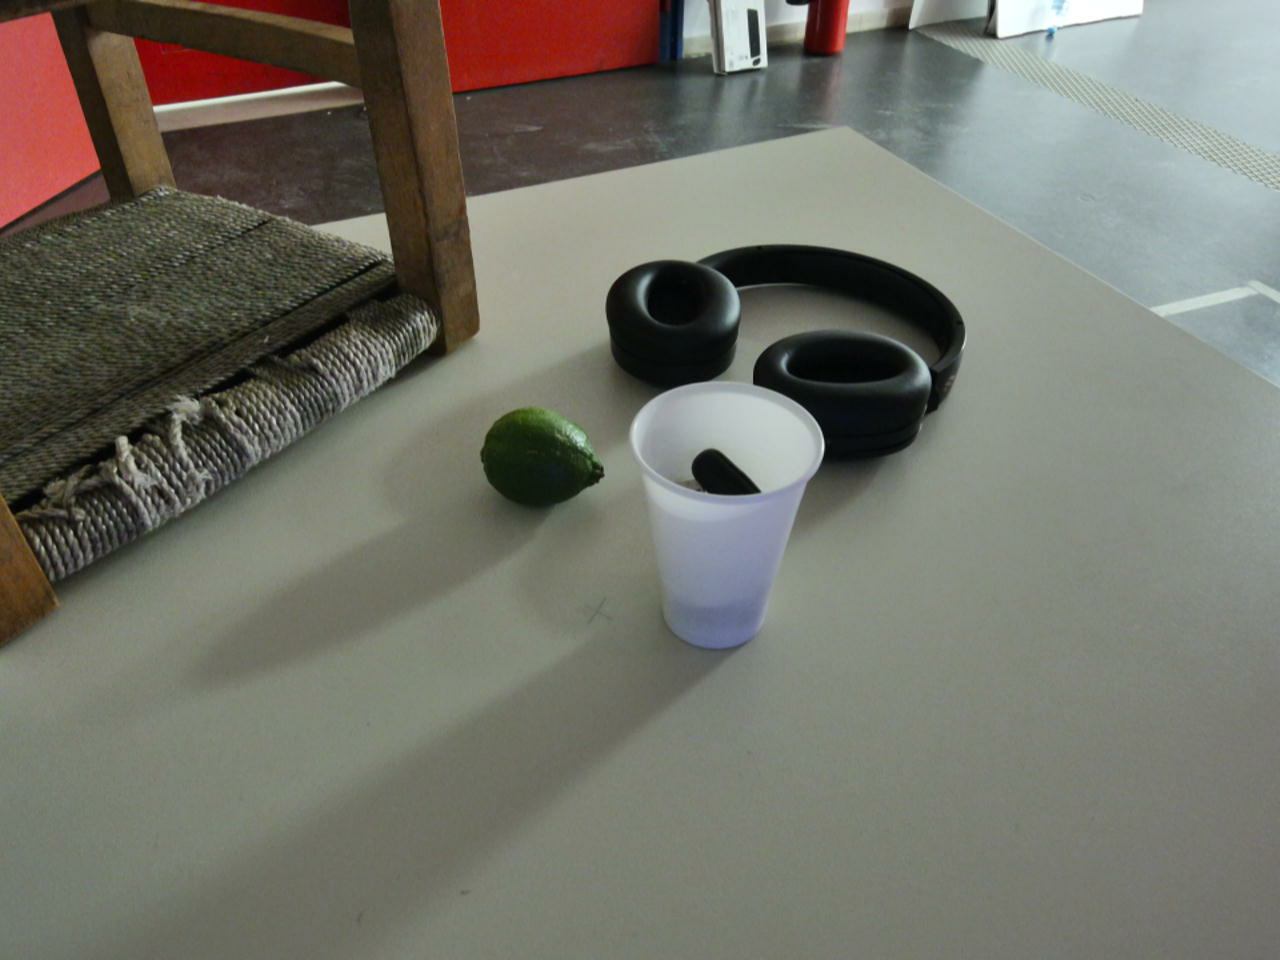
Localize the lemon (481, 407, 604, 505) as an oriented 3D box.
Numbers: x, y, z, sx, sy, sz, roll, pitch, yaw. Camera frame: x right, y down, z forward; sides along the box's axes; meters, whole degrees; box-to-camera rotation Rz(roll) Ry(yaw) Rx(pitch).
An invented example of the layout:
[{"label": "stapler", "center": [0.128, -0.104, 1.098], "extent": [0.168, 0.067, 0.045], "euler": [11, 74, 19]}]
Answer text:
[{"label": "lemon", "center": [-0.053, -0.013, 0.520], "extent": [0.057, 0.051, 0.054], "euler": [-19, 42, -23]}]
